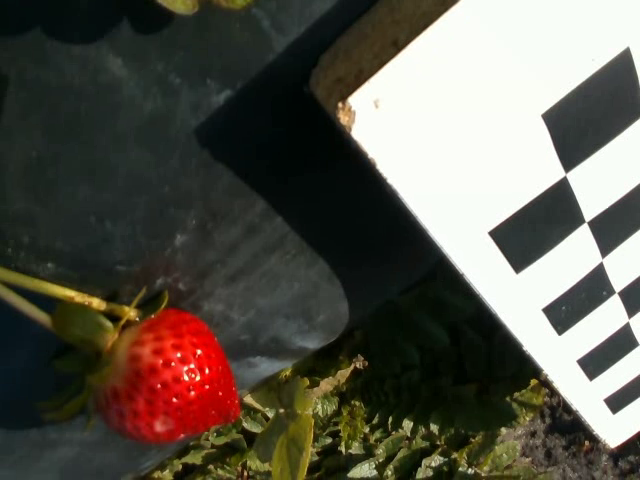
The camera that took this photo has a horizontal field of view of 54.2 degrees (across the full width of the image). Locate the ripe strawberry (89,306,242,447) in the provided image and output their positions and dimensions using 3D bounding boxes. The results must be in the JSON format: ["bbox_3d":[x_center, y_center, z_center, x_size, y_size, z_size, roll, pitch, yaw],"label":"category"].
[{"bbox_3d":[-0.035,0.037,0.157,0.044,0.040,0.037,25,24,-27],"label":"ripe strawberry"}]
